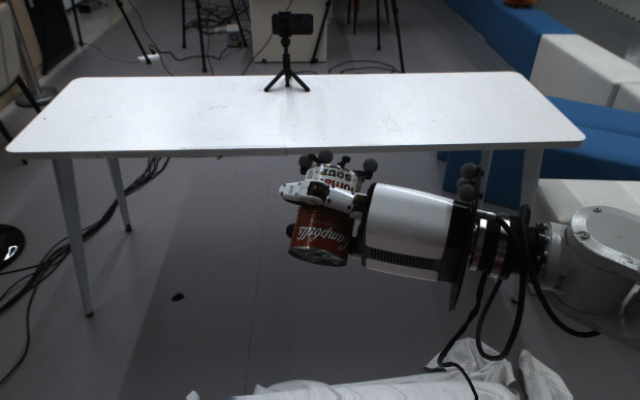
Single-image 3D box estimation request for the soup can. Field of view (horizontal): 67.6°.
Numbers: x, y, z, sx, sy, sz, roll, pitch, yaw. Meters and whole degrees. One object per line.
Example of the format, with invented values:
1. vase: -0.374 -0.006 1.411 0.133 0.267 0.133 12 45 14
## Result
1. soup can: 0.009 0.018 0.550 0.067 0.067 0.101 9 71 9
